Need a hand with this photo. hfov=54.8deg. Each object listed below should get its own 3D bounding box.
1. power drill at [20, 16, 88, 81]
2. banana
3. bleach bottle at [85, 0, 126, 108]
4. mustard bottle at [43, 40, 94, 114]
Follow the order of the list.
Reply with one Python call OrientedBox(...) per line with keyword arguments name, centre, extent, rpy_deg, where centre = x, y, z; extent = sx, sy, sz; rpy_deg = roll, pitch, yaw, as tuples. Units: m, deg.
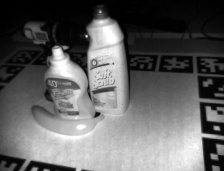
OrientedBox(name="power drill", centre=(-0.127, -0.077, 0.538), extent=(0.182, 0.188, 0.057), rpy_deg=(13, 43, 22))
OrientedBox(name="banana", centre=(-0.119, 0.070, 0.528), extent=(0.195, 0.039, 0.074), rpy_deg=(5, 42, 19))
OrientedBox(name="bleach bottle", centre=(-0.024, -0.065, 0.501), extent=(0.102, 0.252, 0.068), rpy_deg=(5, 36, 16))
OrientedBox(name="mustard bottle", centre=(-0.103, -0.014, 0.490), extent=(0.095, 0.193, 0.058), rpy_deg=(4, 41, 14))
